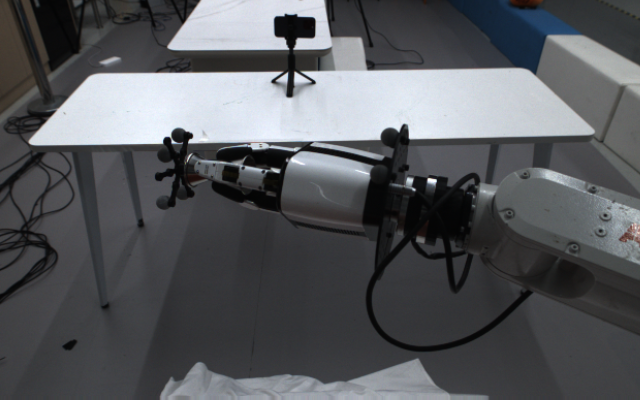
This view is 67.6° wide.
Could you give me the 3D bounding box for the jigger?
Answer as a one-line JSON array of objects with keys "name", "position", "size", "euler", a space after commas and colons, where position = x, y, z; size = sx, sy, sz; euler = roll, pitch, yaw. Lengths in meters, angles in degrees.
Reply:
[{"name": "jigger", "position": [-0.104, -0.033, 0.538], "size": [0.071, 0.043, 0.043], "euler": [6, 35, 14]}]
